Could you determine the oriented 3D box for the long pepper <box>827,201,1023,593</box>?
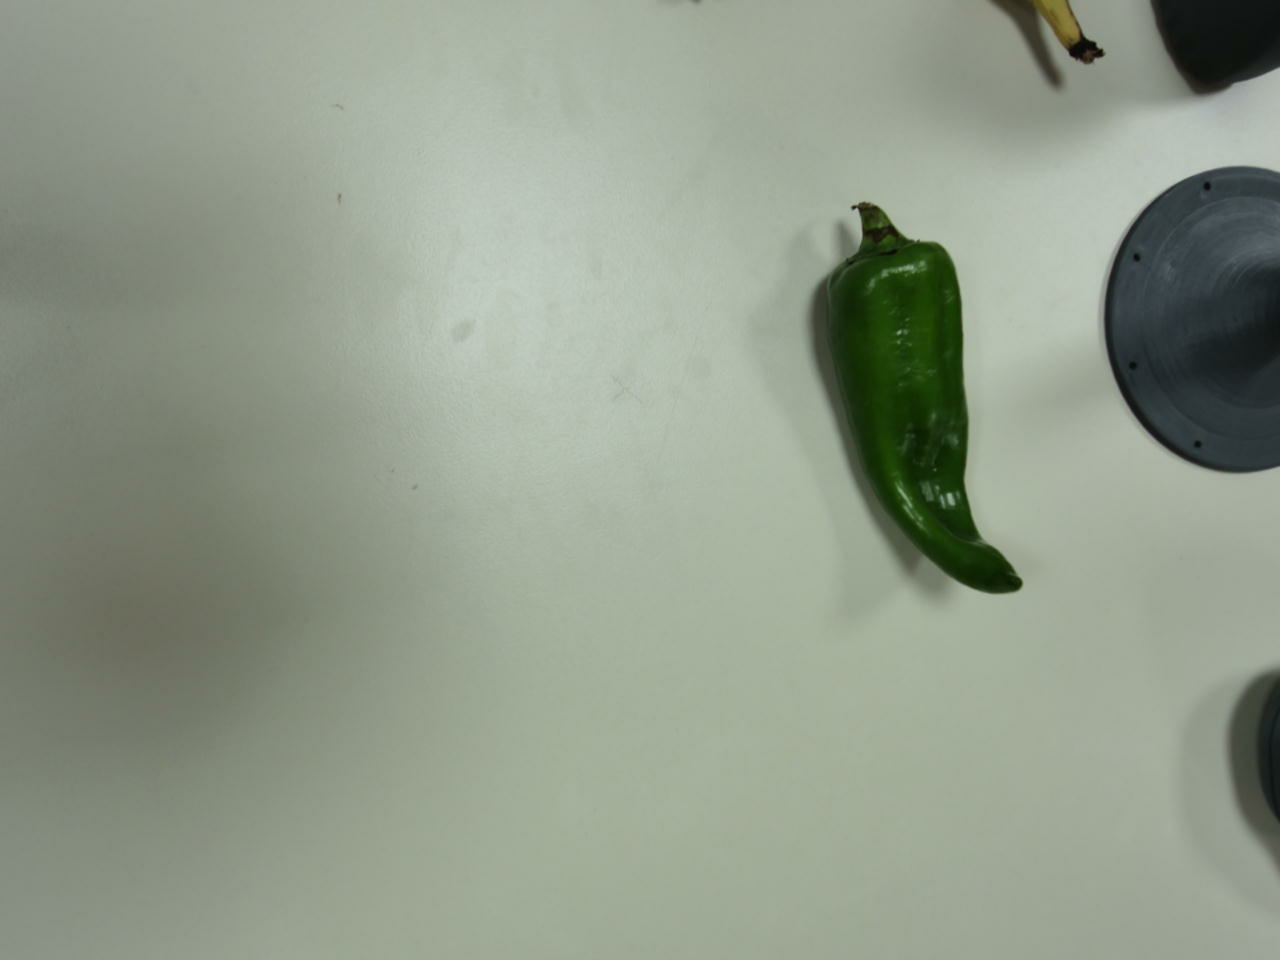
[{"bbox_3d":[0.118,-0.036,0.427,0.058,0.065,0.175,-13,93,-11],"label":"long pepper"}]
